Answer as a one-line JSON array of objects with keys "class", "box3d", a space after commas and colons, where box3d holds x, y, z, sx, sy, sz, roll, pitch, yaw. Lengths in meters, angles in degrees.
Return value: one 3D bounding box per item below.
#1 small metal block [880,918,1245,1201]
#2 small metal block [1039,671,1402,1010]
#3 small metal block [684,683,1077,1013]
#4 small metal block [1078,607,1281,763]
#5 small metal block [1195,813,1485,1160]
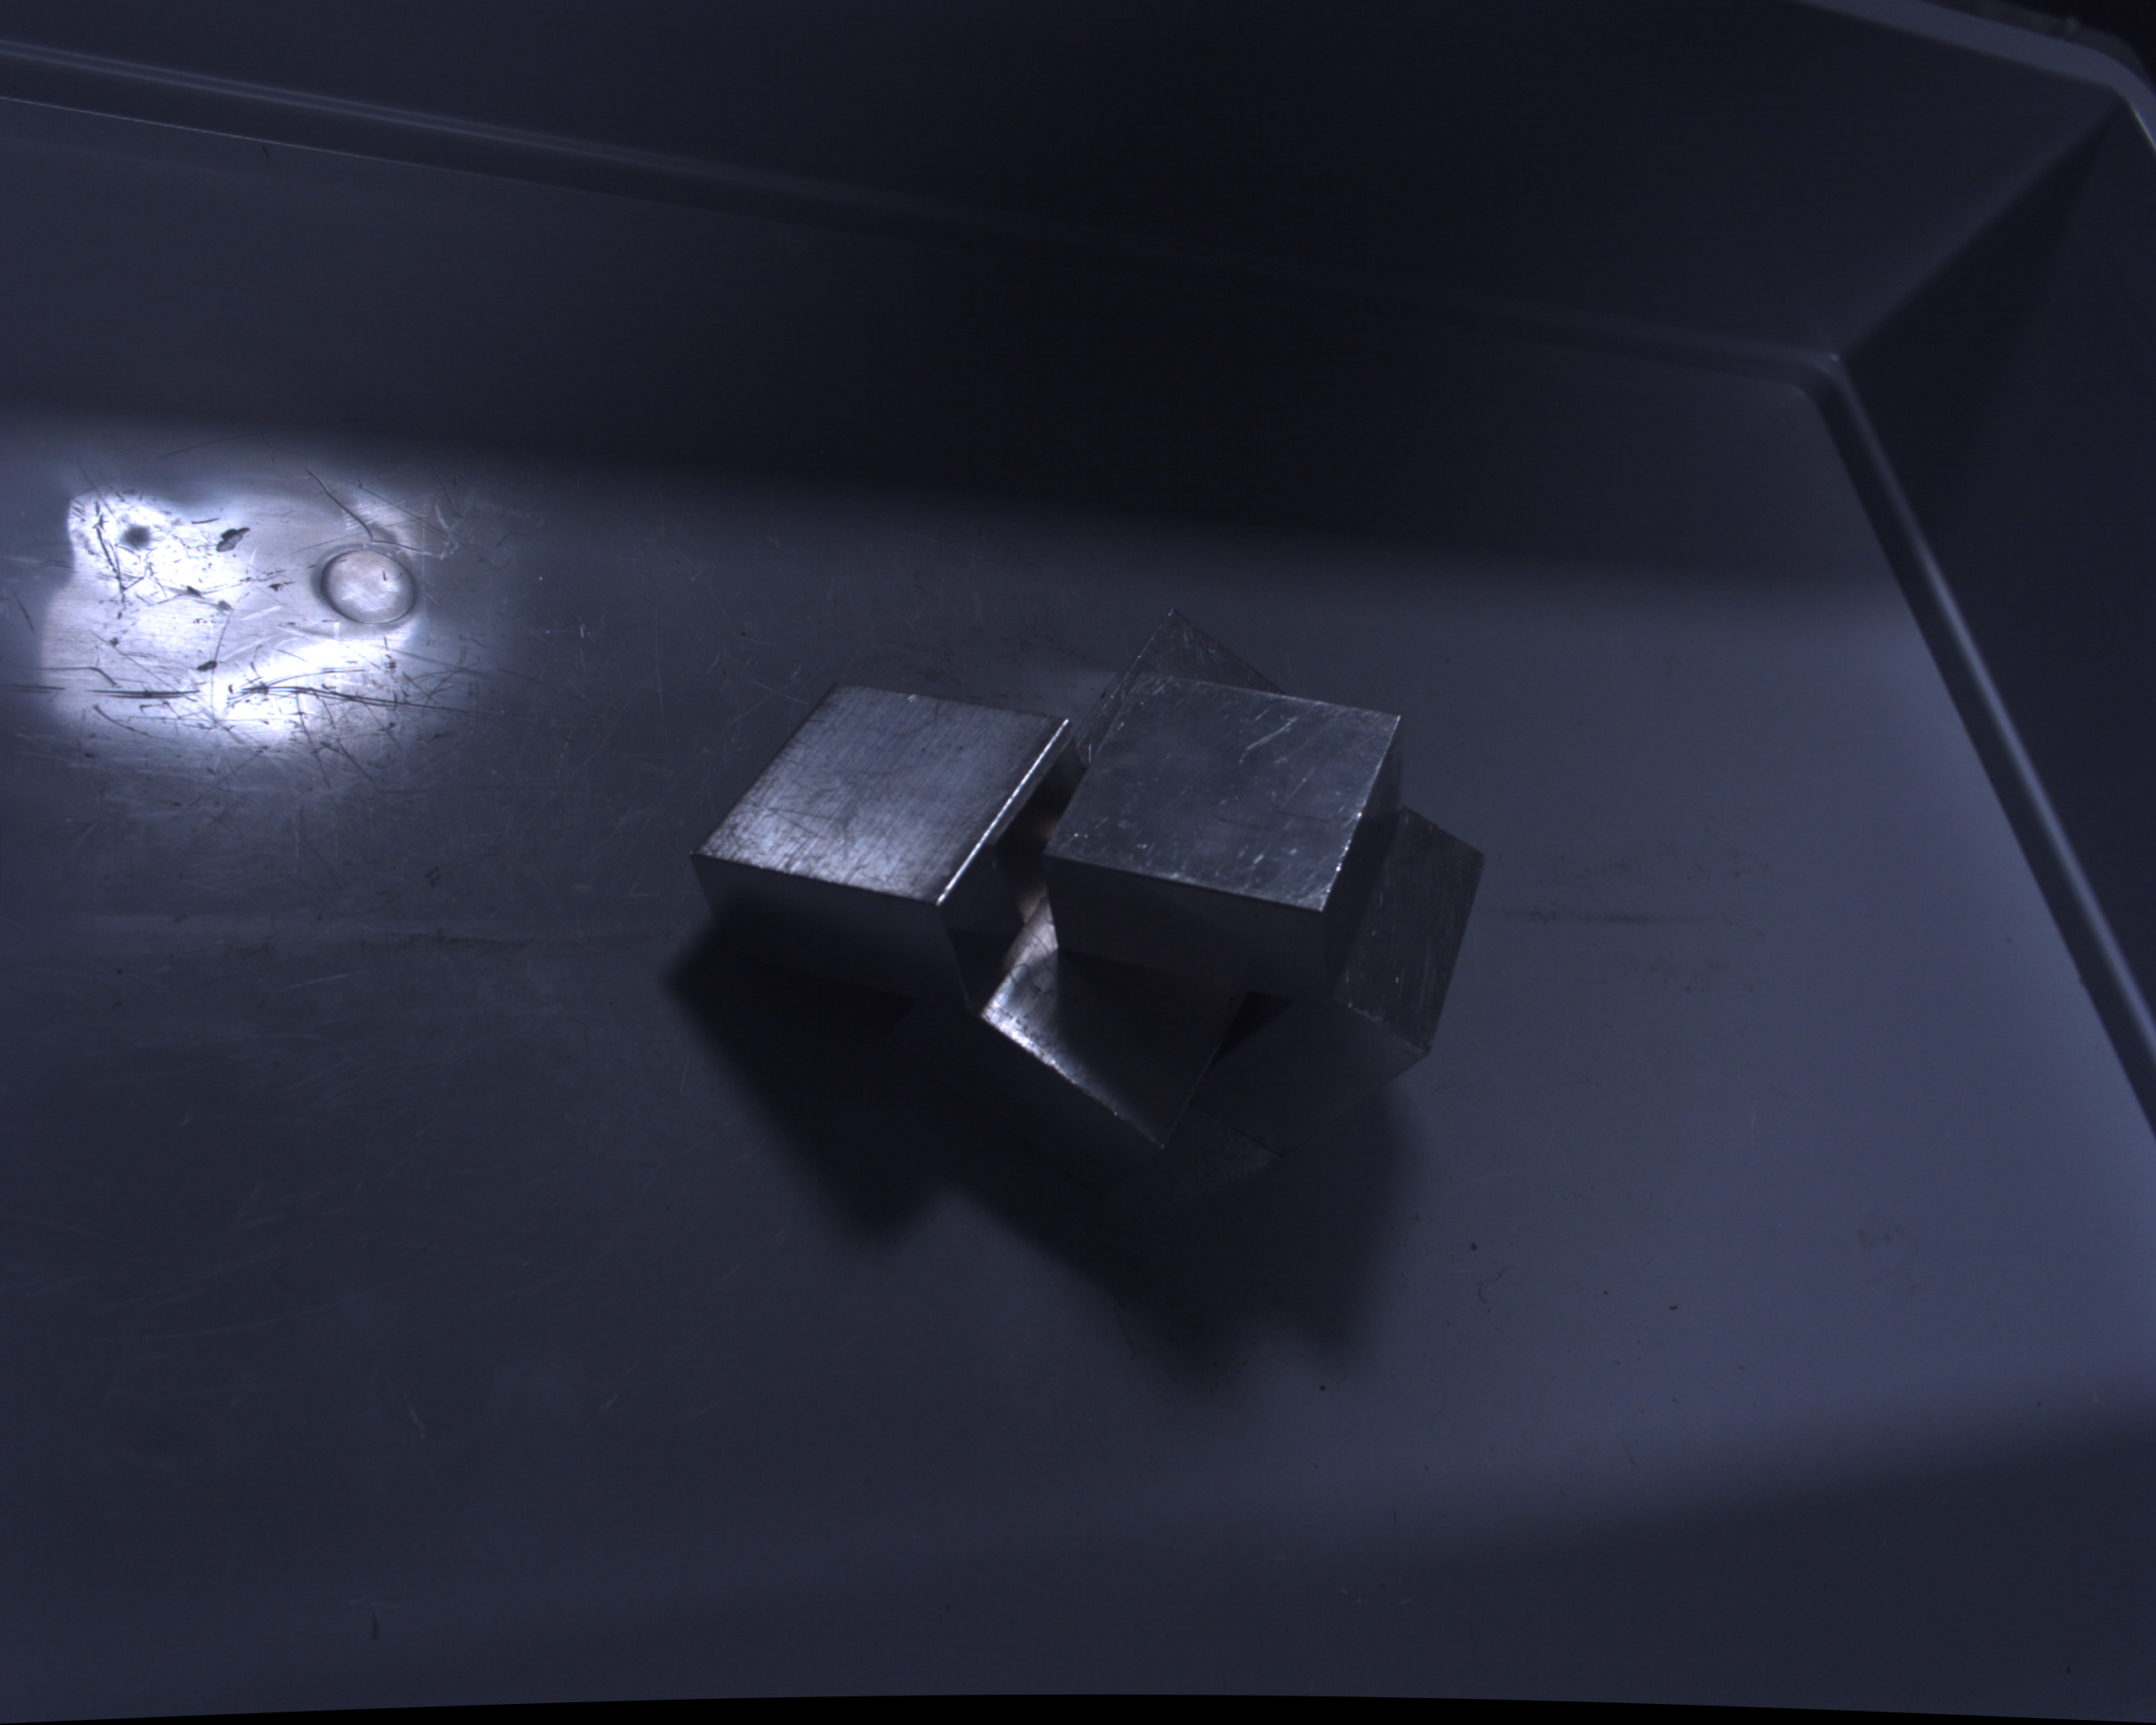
[{"class": "small metal block", "box3d": [0.000, 0.026, 0.389, 0.050, 0.025, 0.050, 36, 51, -4]}, {"class": "small metal block", "box3d": [0.027, -0.005, 0.375, 0.050, 0.025, 0.050, 11, 49, 19]}, {"class": "small metal block", "box3d": [-0.033, -0.004, 0.374, 0.050, 0.025, 0.050, 11, 46, 25]}, {"class": "small metal block", "box3d": [0.023, -0.016, 0.427, 0.050, 0.025, 0.050, 36, 51, -4]}, {"class": "small metal block", "box3d": [0.049, 0.022, 0.402, 0.025, 0.050, 0.050, 31, 52, -9]}]
